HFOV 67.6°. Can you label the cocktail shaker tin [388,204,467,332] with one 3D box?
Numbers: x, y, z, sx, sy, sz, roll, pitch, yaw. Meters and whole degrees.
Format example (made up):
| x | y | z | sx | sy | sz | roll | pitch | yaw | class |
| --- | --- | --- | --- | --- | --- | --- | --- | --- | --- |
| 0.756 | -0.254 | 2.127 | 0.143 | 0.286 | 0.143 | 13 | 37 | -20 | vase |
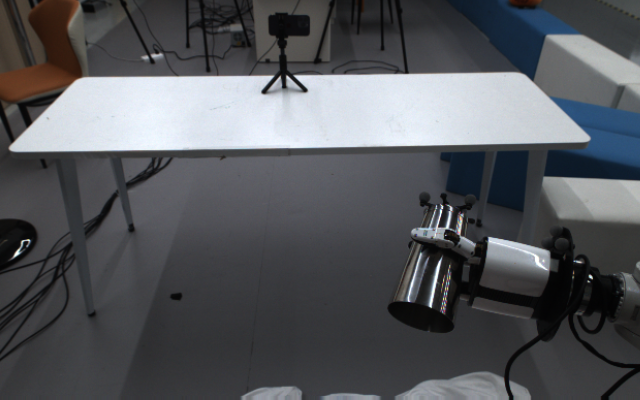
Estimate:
| x | y | z | sx | sy | sz | roll | pitch | yaw | class |
| --- | --- | --- | --- | --- | --- | --- | --- | --- | --- |
| 0.164 | 0.089 | 0.694 | 0.093 | 0.093 | 0.170 | 14 | 56 | 16 | cocktail shaker tin |
